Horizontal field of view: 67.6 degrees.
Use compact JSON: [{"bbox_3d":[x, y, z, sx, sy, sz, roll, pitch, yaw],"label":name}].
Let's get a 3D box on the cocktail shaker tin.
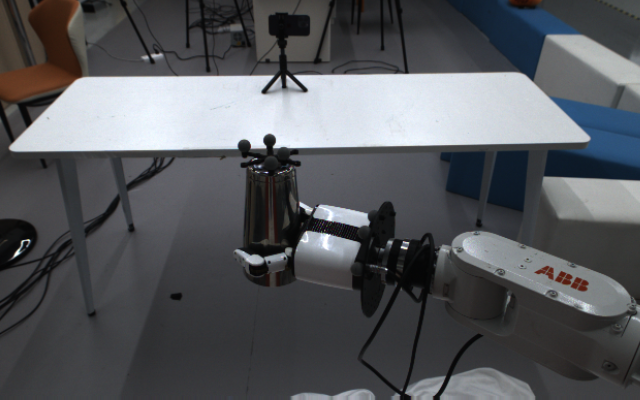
[{"bbox_3d":[-0.067,0.026,0.686,0.093,0.170,0.093,1,28,-1],"label":"cocktail shaker tin"}]
